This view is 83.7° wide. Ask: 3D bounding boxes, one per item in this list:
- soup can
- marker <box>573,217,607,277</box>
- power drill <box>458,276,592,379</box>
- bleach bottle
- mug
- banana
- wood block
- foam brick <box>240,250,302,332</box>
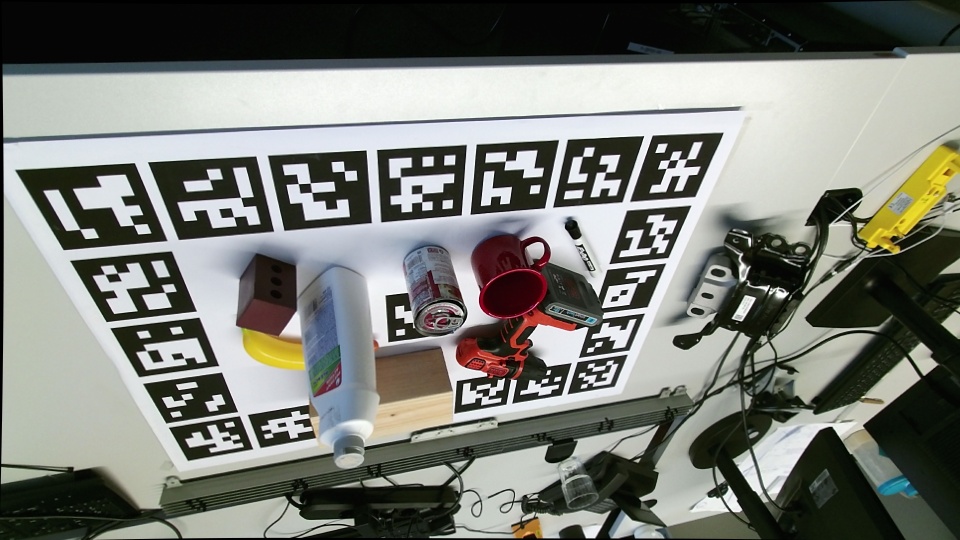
[{"bbox_3d":[-0.047,0.028,0.684,0.068,0.101,0.068,-9,137,-8],"label":"soup can"},{"bbox_3d":[0.158,-0.033,0.768,0.020,0.019,0.121,-30,133,5],"label":"marker"},{"bbox_3d":[0.084,0.096,0.839,0.185,0.057,0.187,21,123,-29],"label":"power drill"},{"bbox_3d":[-0.154,0.108,0.627,0.068,0.249,0.102,19,124,-33],"label":"bleach bottle"},{"bbox_3d":[0.054,0.004,0.718,0.117,0.081,0.093,-42,129,16],"label":"mug"},{"bbox_3d":[-0.222,0.122,0.760,0.198,0.039,0.074,8,114,-22],"label":"banana"},{"bbox_3d":[-0.145,0.194,0.822,0.207,0.090,0.090,-7,132,-13],"label":"wood block"},{"bbox_3d":[-0.249,0.025,0.640,0.053,0.077,0.051,23,123,-36],"label":"foam brick"}]
